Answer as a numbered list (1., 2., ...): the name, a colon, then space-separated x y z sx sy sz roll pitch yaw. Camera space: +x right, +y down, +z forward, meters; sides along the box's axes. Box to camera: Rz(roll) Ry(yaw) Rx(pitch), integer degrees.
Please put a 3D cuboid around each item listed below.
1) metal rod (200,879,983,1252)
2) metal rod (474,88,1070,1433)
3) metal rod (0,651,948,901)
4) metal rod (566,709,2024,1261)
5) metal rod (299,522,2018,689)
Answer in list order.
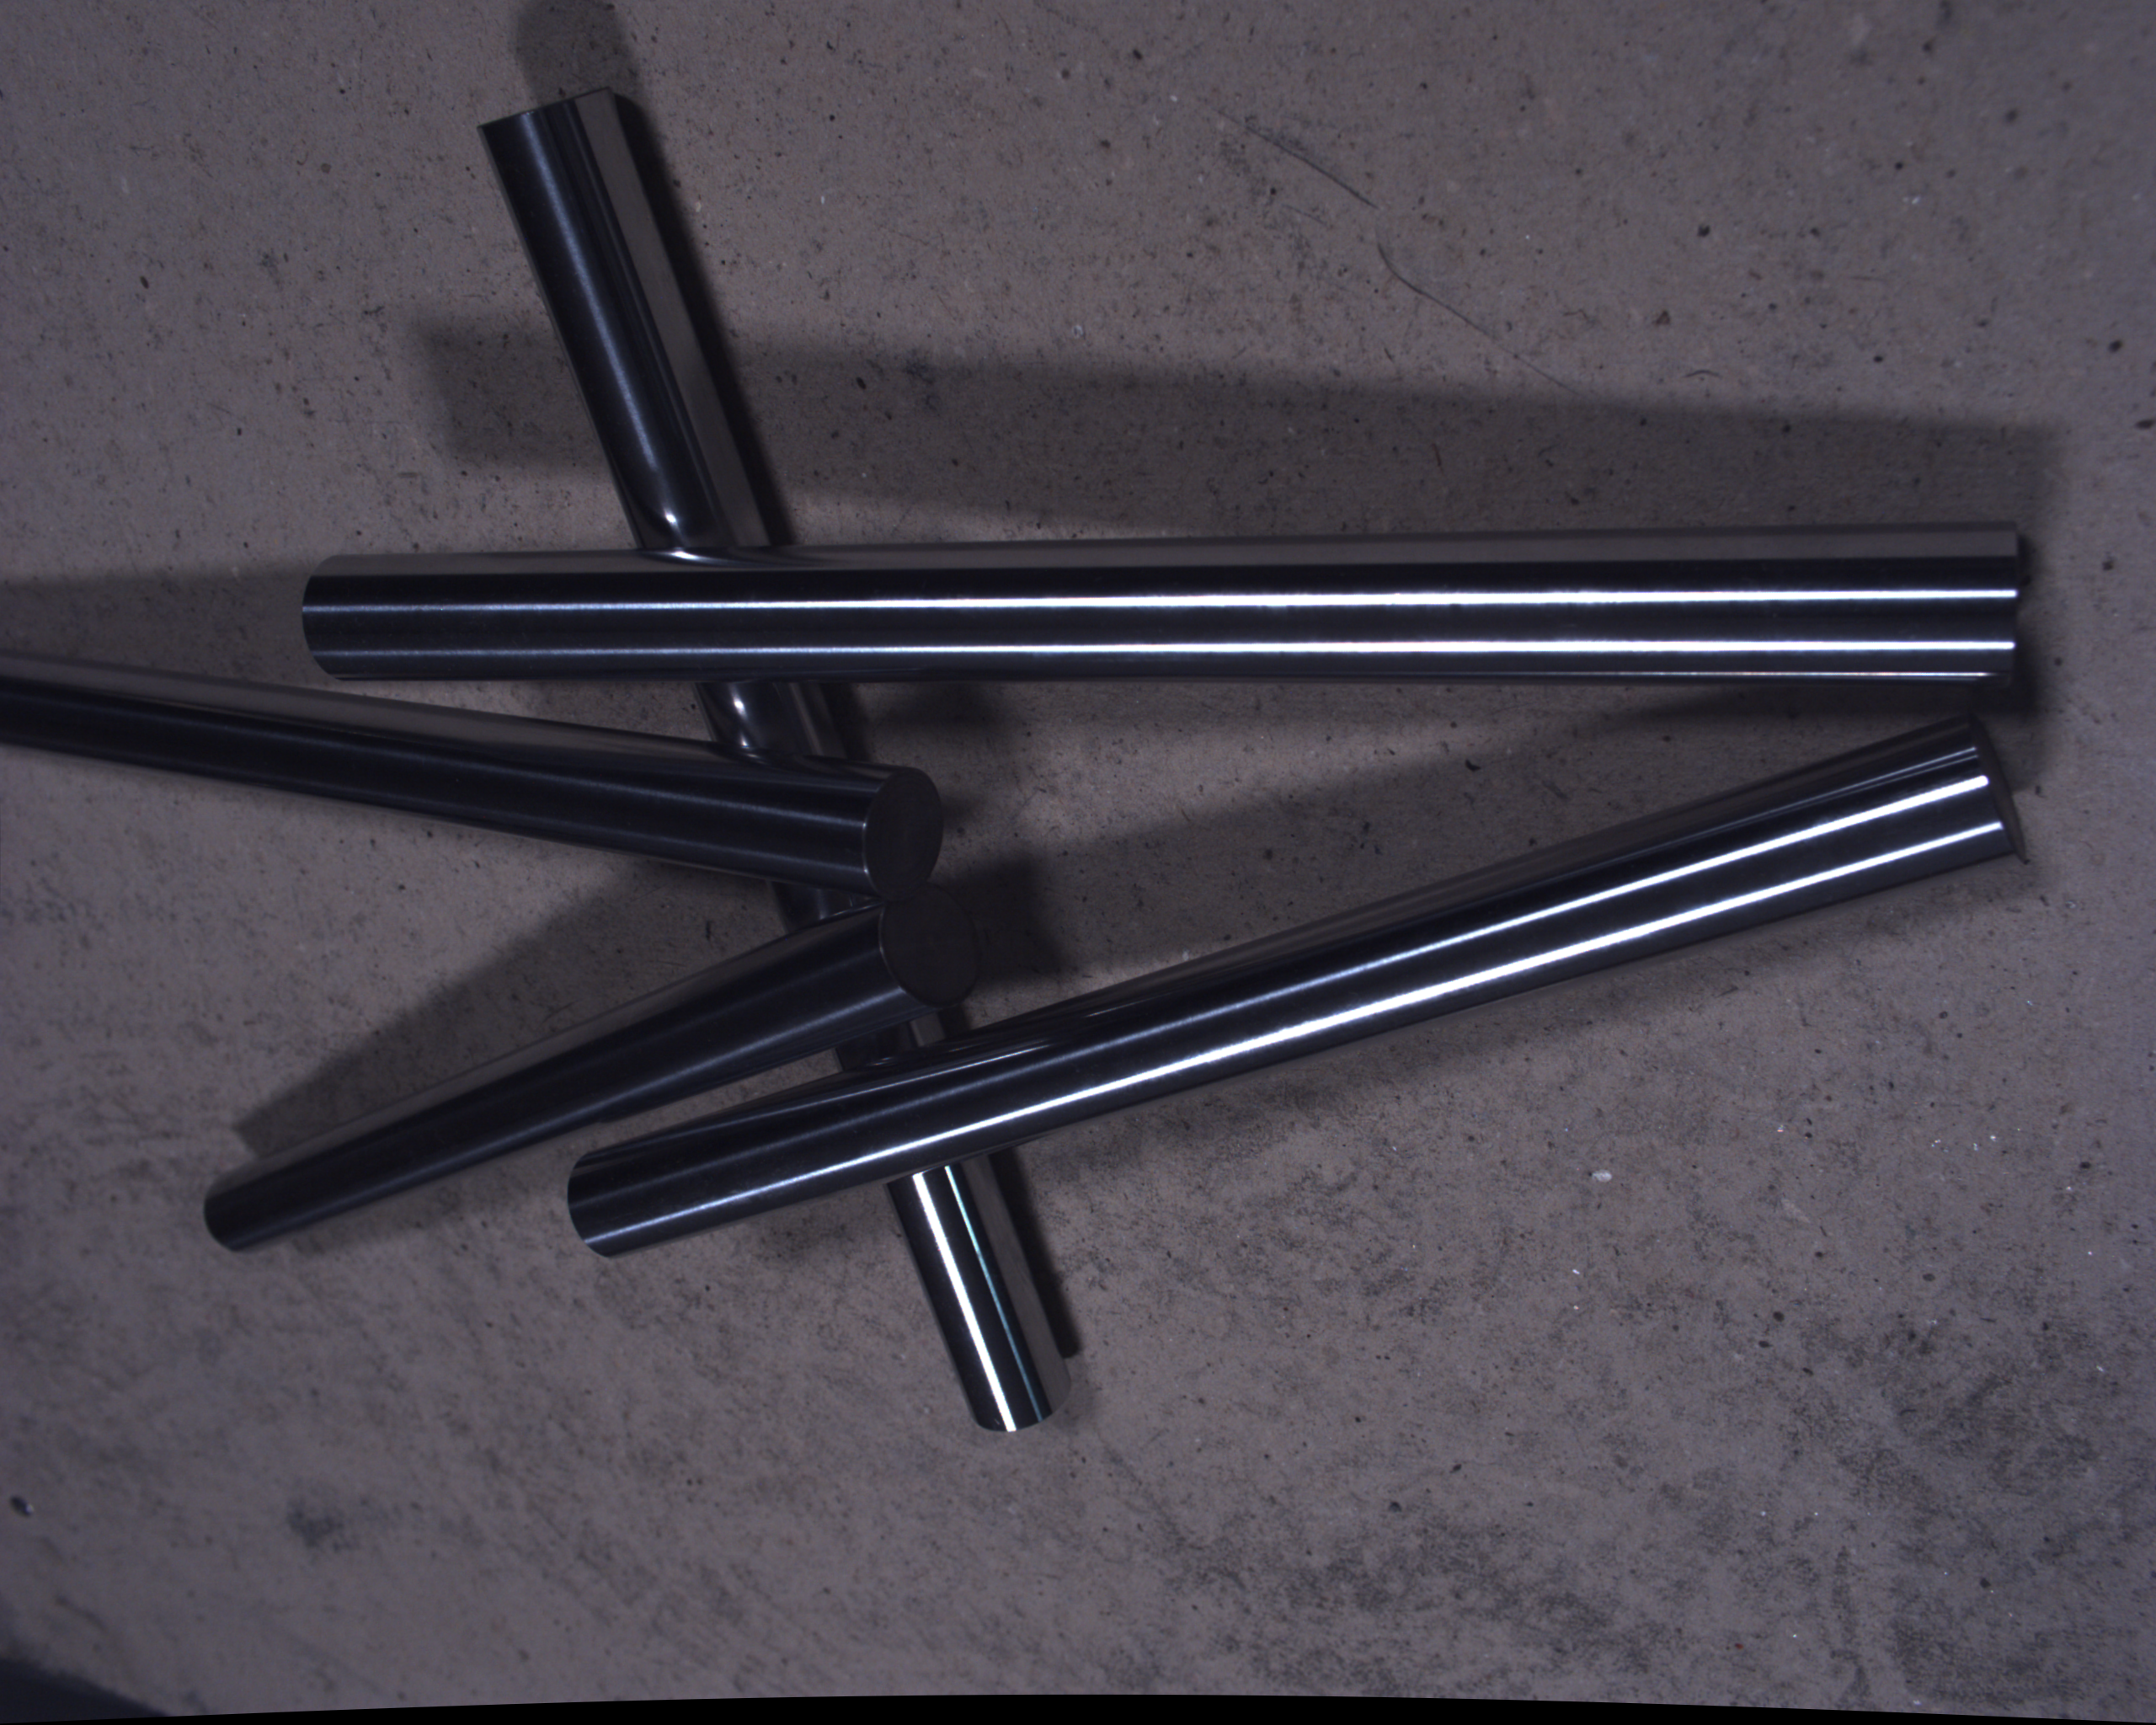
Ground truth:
1. metal rod: -0.132 0.056 0.492 0.299 0.025 0.025 -22 107 41
2. metal rod: -0.055 -0.005 0.433 0.025 0.025 0.298 -3 117 29
3. metal rod: -0.160 -0.025 0.457 0.300 0.025 0.025 9 122 30
4. metal rod: 0.019 0.032 0.397 0.300 0.025 0.025 -20 108 28
5. metal rod: -0.003 -0.043 0.361 0.301 0.025 0.025 2 120 19
